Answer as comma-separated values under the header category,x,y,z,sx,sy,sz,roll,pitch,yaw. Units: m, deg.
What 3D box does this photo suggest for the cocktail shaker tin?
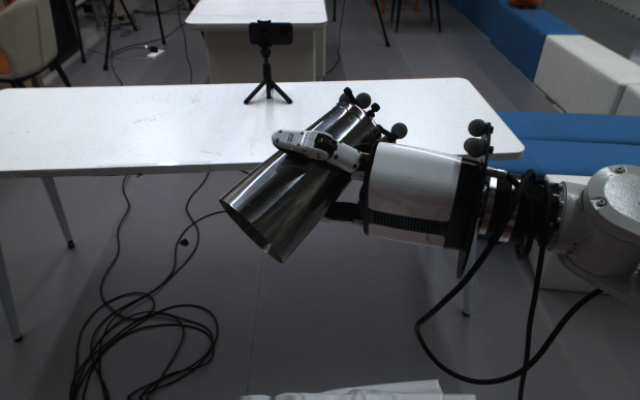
category,x,y,z,sx,sy,sz,roll,pitch,yaw
cocktail shaker tin,-0.012,-0.029,0.516,0.170,0.093,0.093,-43,51,-15
